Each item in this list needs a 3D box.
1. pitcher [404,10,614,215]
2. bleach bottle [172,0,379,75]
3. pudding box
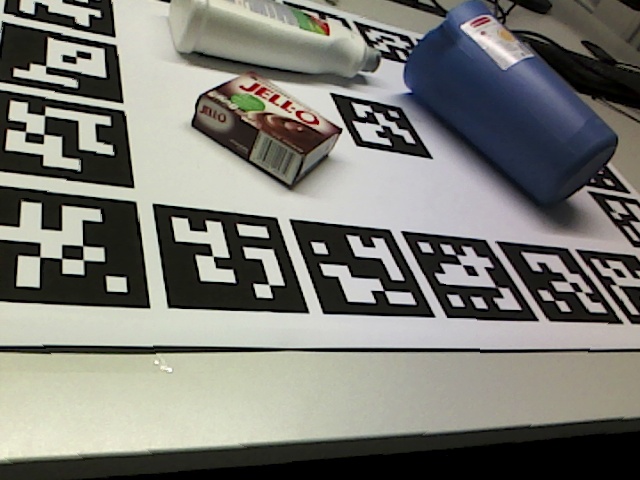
[{"bbox_3d":[0.227,-0.148,0.753,0.243,0.133,0.188,52,9,20],"label":"pitcher"},{"bbox_3d":[-0.037,-0.233,0.716,0.249,0.068,0.103,4,48,-31],"label":"bleach bottle"},{"bbox_3d":[-0.046,-0.108,0.580,0.114,0.039,0.090,36,33,7],"label":"pudding box"}]
